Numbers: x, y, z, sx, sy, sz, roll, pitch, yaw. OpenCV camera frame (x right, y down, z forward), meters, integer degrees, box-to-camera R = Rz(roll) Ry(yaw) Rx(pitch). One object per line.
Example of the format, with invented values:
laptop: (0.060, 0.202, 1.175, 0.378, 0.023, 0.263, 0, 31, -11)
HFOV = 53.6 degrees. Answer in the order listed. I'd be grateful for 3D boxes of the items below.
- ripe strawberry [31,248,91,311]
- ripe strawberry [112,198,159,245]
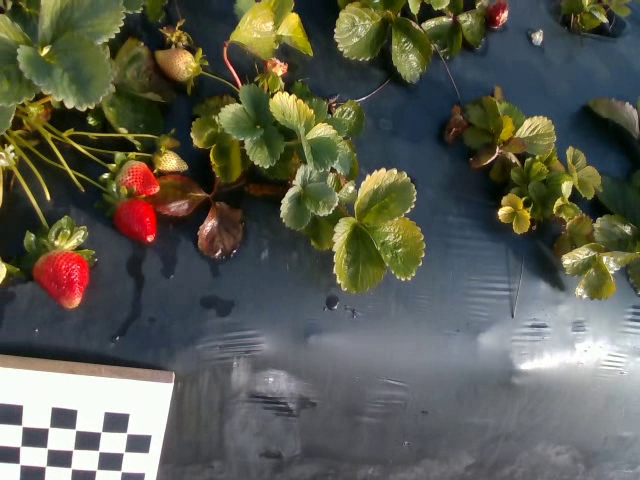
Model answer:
ripe strawberry: (-0.238, 0.038, 0.574, 0.050, 0.065, 0.050, -27, -30, 3)
ripe strawberry: (-0.179, -0.014, 0.608, 0.055, 0.045, 0.041, 47, 14, 28)
